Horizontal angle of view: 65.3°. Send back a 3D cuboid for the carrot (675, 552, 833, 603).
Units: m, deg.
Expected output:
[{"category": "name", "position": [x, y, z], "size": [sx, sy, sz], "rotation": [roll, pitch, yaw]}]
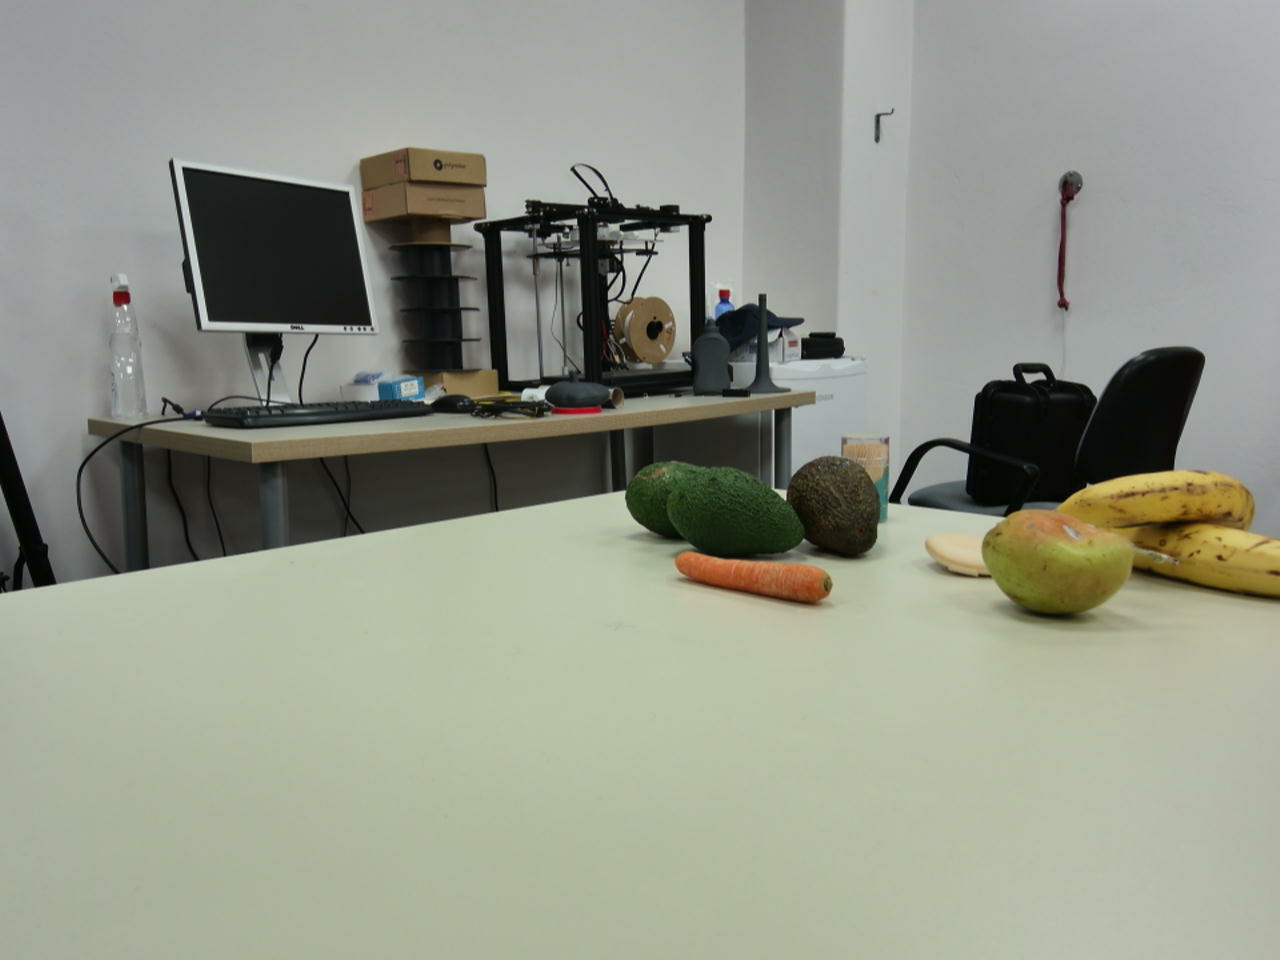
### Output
[{"category": "carrot", "position": [0.070, 0.061, 0.647], "size": [0.122, 0.023, 0.024], "rotation": [7, 9, 43]}]
